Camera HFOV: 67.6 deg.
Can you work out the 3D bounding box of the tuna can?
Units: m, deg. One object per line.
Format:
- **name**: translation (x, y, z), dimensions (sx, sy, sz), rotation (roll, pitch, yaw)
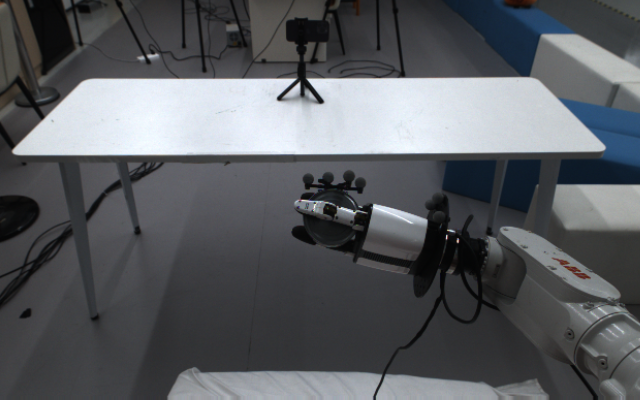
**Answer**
- **tuna can**: translation (0.018, 0.027, 0.724), dimensions (0.085, 0.034, 0.085), rotation (0, 75, 0)
